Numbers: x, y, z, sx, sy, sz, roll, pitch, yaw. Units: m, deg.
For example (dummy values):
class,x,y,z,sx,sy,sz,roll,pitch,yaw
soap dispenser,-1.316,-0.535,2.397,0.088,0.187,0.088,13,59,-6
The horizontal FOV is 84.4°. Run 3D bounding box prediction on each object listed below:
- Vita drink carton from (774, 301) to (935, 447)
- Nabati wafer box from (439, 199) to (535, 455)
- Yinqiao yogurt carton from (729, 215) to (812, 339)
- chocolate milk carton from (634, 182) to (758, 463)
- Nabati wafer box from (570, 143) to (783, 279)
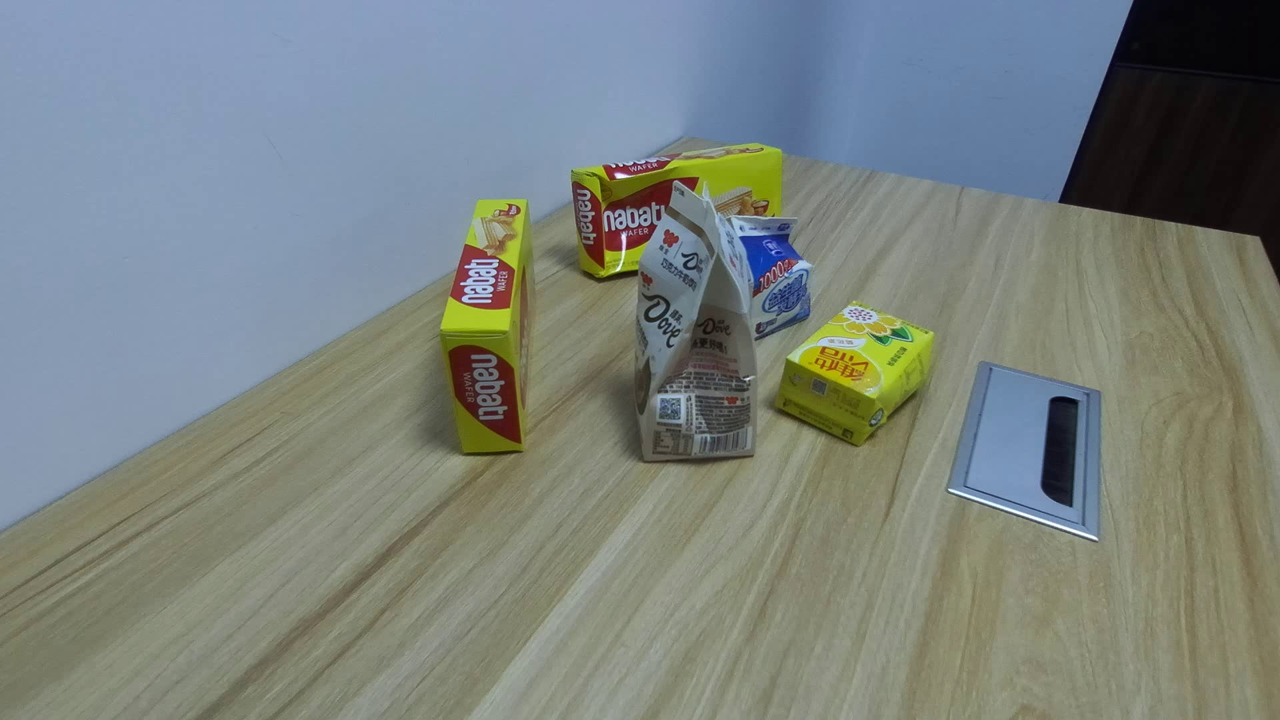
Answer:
class,x,y,z,sx,sy,sz,roll,pitch,yaw
Vita drink carton,0.153,0.008,0.488,0.076,0.043,0.109,27,39,28
Nabati wafer box,-0.100,-0.034,0.500,0.042,0.093,0.202,-3,34,-4
Yinqiao yogurt carton,0.090,-0.076,0.564,0.083,0.093,0.077,-22,39,-31
chocolate milk carton,0.036,-0.020,0.423,0.073,0.155,0.084,-2,34,-3
Nabati wafer box,0.040,-0.142,0.665,0.204,0.096,0.042,-14,31,-22
